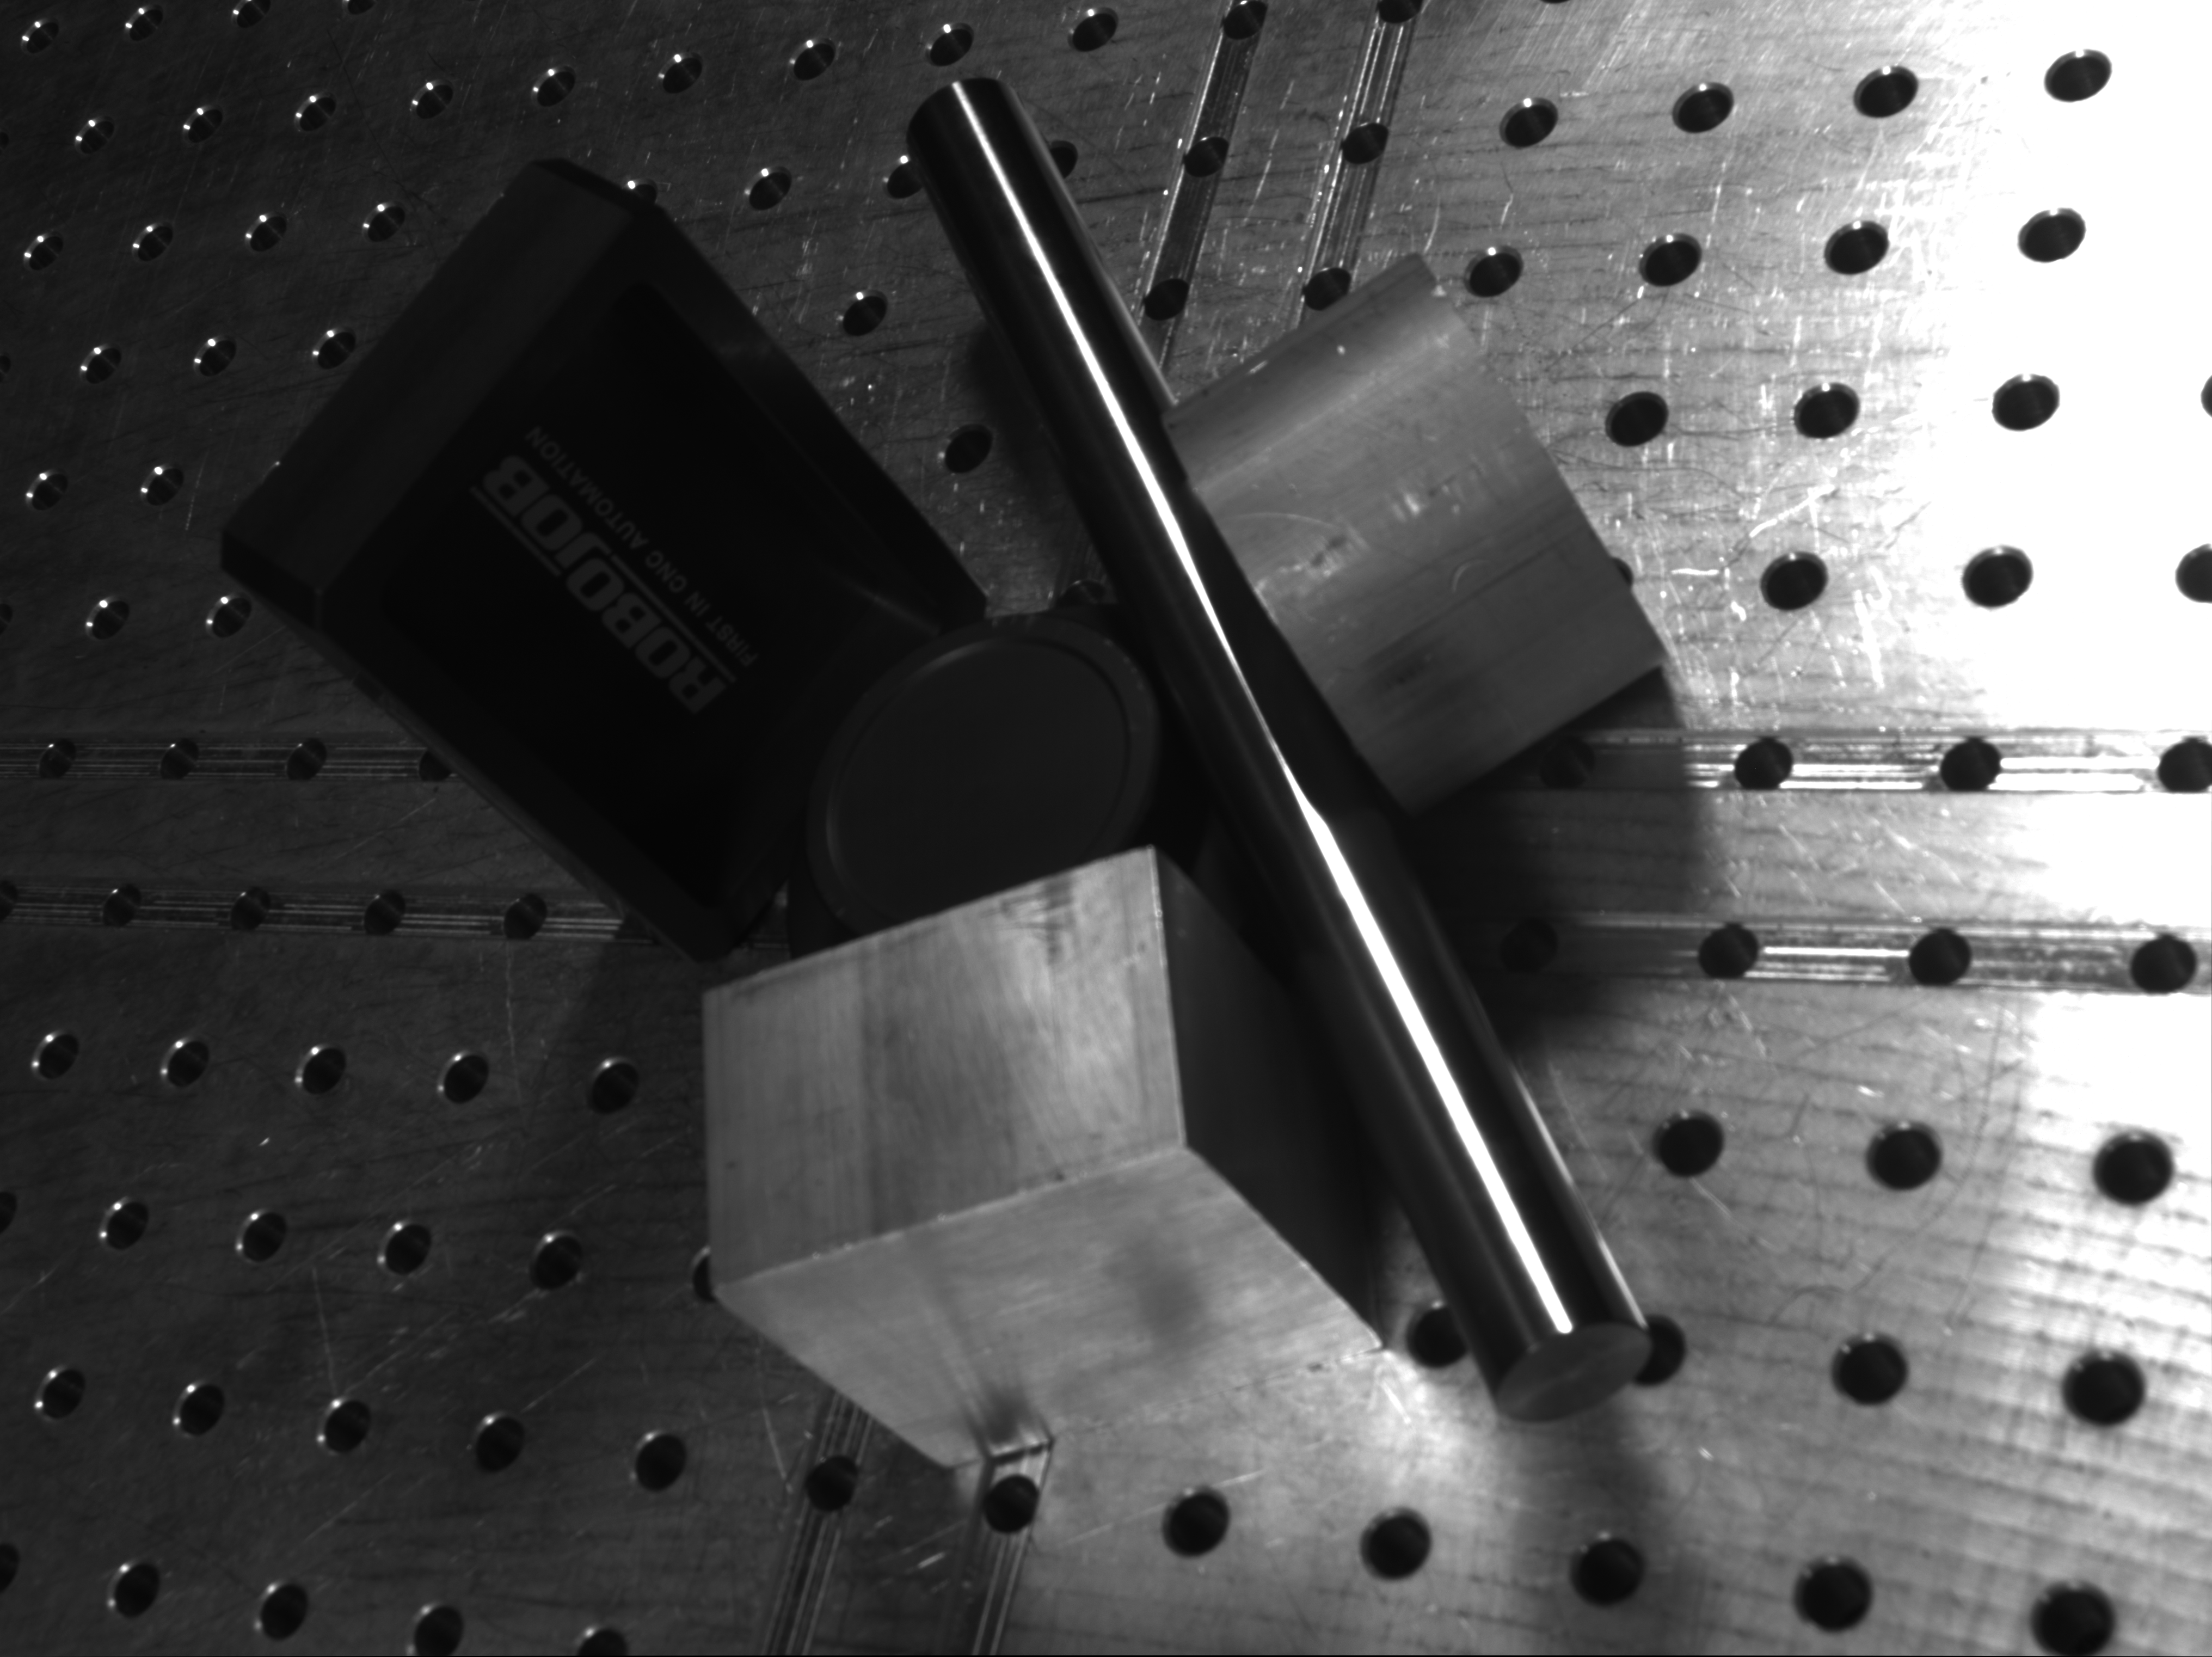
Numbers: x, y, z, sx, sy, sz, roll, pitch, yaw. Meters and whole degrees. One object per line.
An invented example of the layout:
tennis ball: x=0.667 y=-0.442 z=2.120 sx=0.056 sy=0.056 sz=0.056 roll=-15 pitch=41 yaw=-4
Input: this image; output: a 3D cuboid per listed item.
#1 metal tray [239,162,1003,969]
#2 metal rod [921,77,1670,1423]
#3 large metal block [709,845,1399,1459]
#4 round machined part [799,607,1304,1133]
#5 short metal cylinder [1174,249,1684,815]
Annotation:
metal tray: x=-0.082 y=-0.043 z=0.651 sx=0.030 sy=0.130 sz=0.090 roll=30 pitch=78 yaw=38
metal rod: x=0.023 y=-0.029 z=0.625 sx=0.025 sy=0.025 sz=0.299 roll=-31 pitch=51 yaw=9
large metal block: x=-0.008 y=0.054 z=0.583 sx=0.080 sy=0.080 sz=0.050 roll=-18 pitch=54 yaw=18
round machined part: x=-0.011 y=0.002 z=0.641 sx=0.098 sy=0.042 sz=0.098 roll=-13 pitch=56 yaw=21
short metal cylinder: x=0.054 y=-0.049 z=0.612 sx=0.050 sy=0.080 sz=0.080 roll=-32 pitch=51 yaw=7
